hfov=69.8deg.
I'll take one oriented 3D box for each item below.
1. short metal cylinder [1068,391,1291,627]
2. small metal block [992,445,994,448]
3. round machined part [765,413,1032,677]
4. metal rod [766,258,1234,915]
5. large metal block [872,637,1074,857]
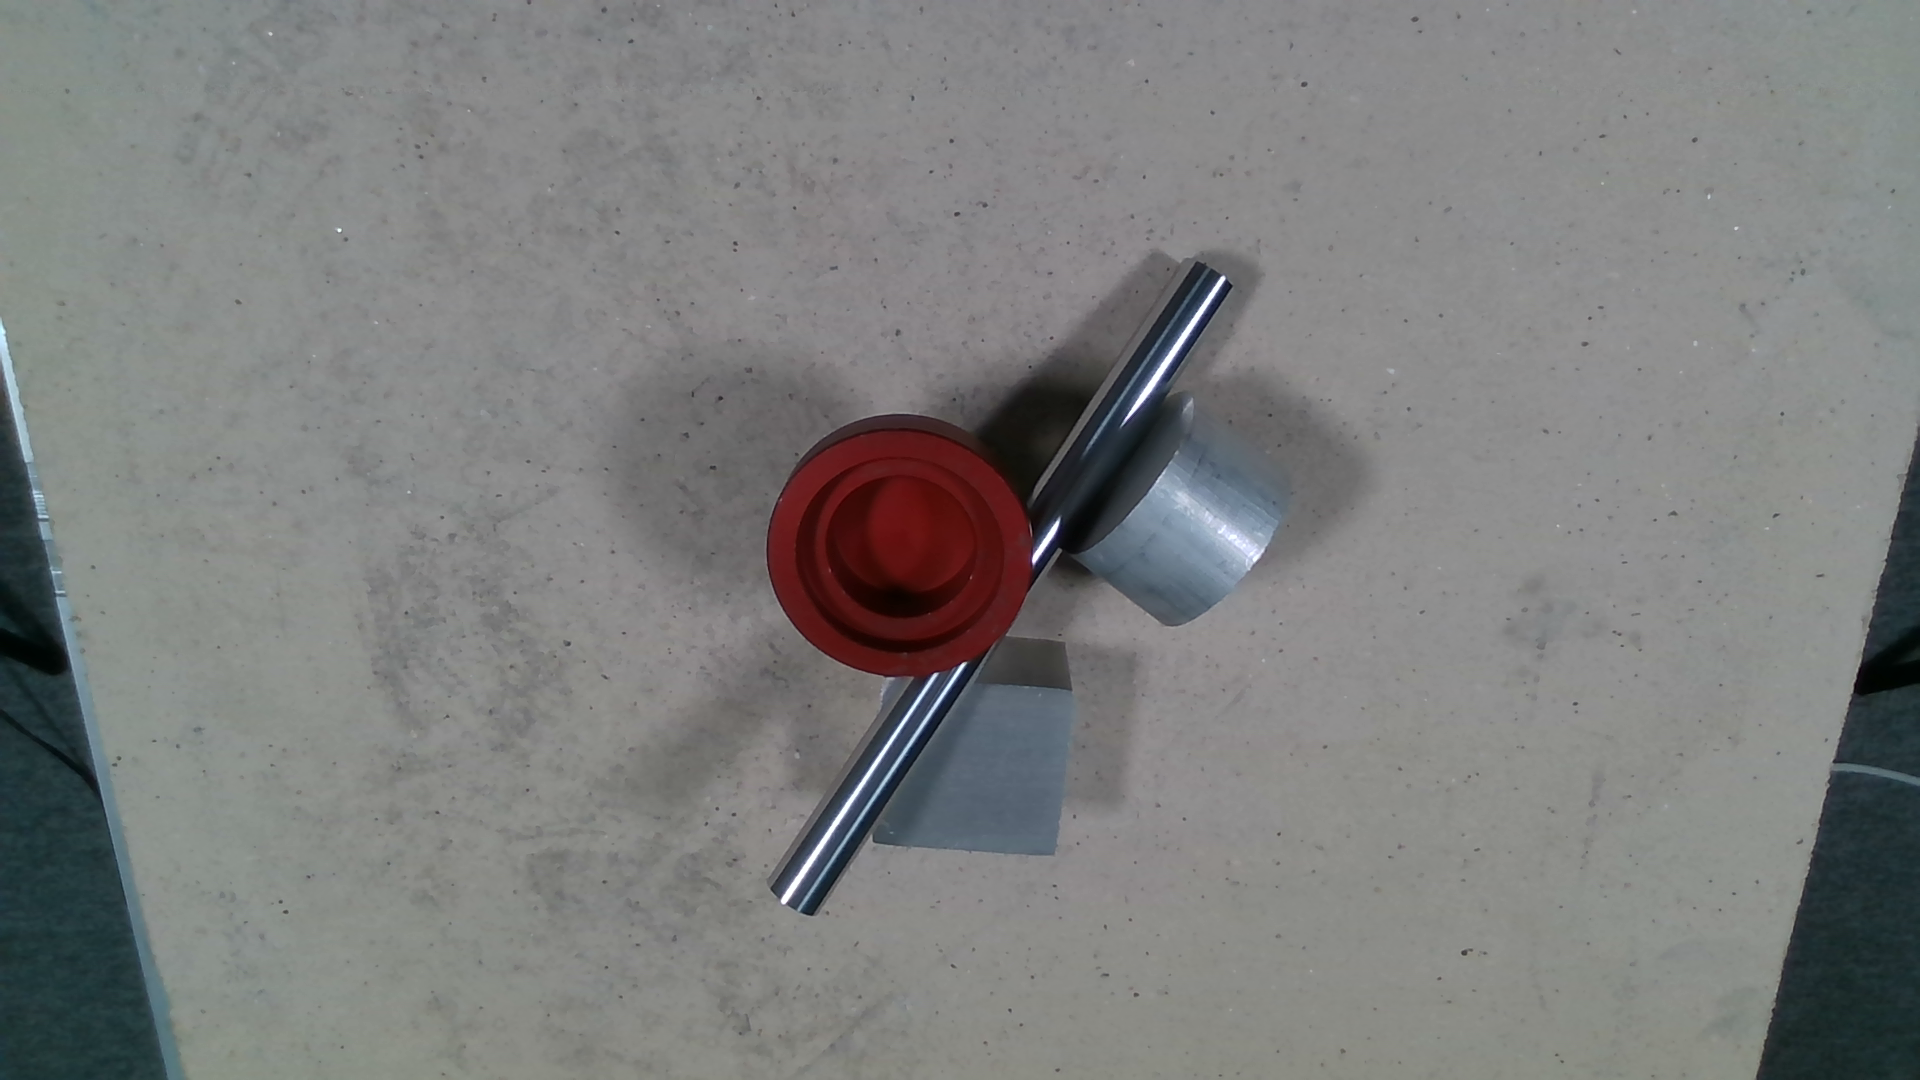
[{"bbox_3d":[0.086,-0.012,0.551,0.050,0.080,0.080,36,106,-12],"label":"short metal cylinder"},{"bbox_3d":[-0.010,-0.020,0.565,0.050,0.050,0.025,-2,110,1],"label":"small metal block"},{"bbox_3d":[-0.022,-0.001,0.523,0.098,0.042,0.098,0,110,1],"label":"round machined part"},{"bbox_3d":[0.015,0.020,0.552,0.025,0.025,0.300,33,93,-11],"label":"metal rod"},{"bbox_3d":[0.004,0.088,0.604,0.080,0.050,0.080,4,110,-1],"label":"large metal block"}]
